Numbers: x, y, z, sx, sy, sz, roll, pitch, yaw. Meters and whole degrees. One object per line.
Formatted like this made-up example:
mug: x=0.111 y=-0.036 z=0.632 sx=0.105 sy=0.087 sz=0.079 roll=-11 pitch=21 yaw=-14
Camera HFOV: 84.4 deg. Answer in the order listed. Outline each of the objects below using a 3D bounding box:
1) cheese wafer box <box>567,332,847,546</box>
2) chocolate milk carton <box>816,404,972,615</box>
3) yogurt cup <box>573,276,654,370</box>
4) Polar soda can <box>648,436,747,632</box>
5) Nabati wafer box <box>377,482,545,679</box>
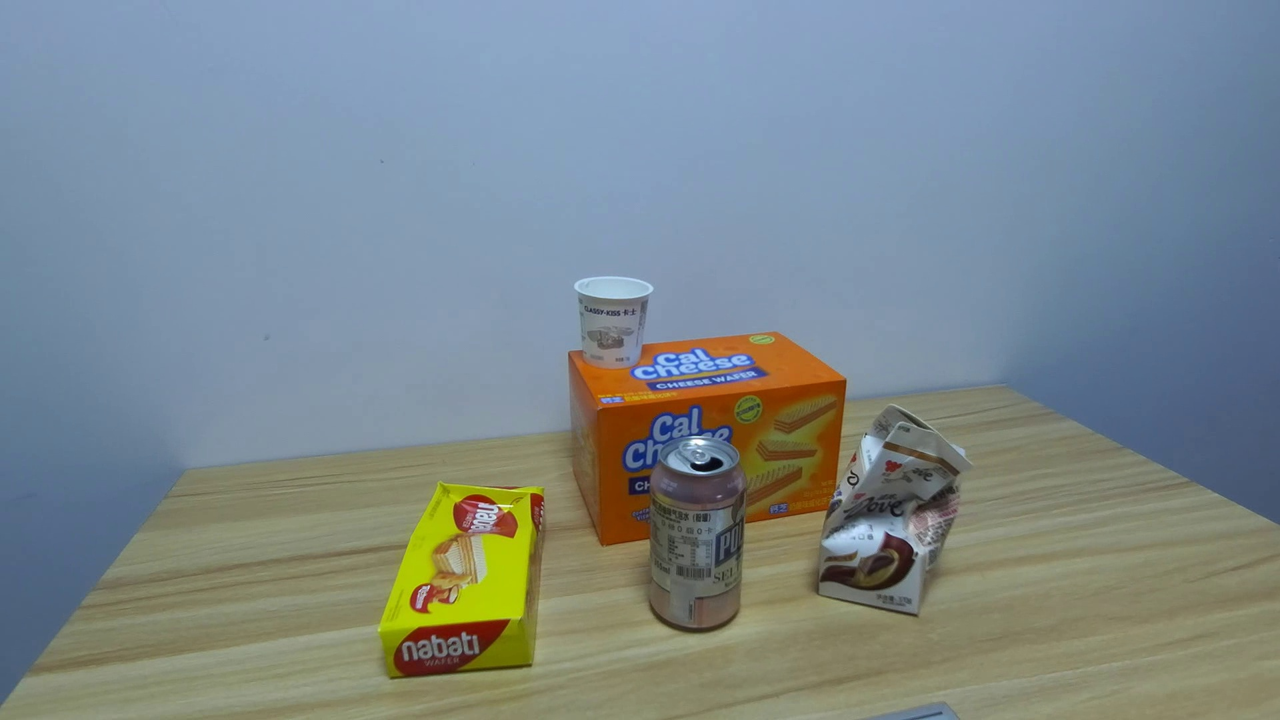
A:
cheese wafer box: x=0.055 y=0.063 z=0.656 sx=0.222 sy=0.129 sz=0.147 roll=-5 pitch=21 yaw=-15
chocolate milk carton: x=0.185 y=0.105 z=0.512 sx=0.089 sy=0.155 sz=0.077 roll=18 pitch=27 yaw=10
yogurt cup: x=-0.024 y=-0.033 z=0.632 sx=0.072 sy=0.068 sz=0.072 roll=2 pitch=20 yaw=0
Polar soda can: x=0.040 y=0.121 z=0.495 sx=0.067 sy=0.125 sz=0.067 roll=0 pitch=19 yaw=0
Nabati wafer box: x=-0.125 y=0.151 z=0.540 sx=0.096 sy=0.042 sz=0.203 roll=-3 pitch=19 yaw=-3
